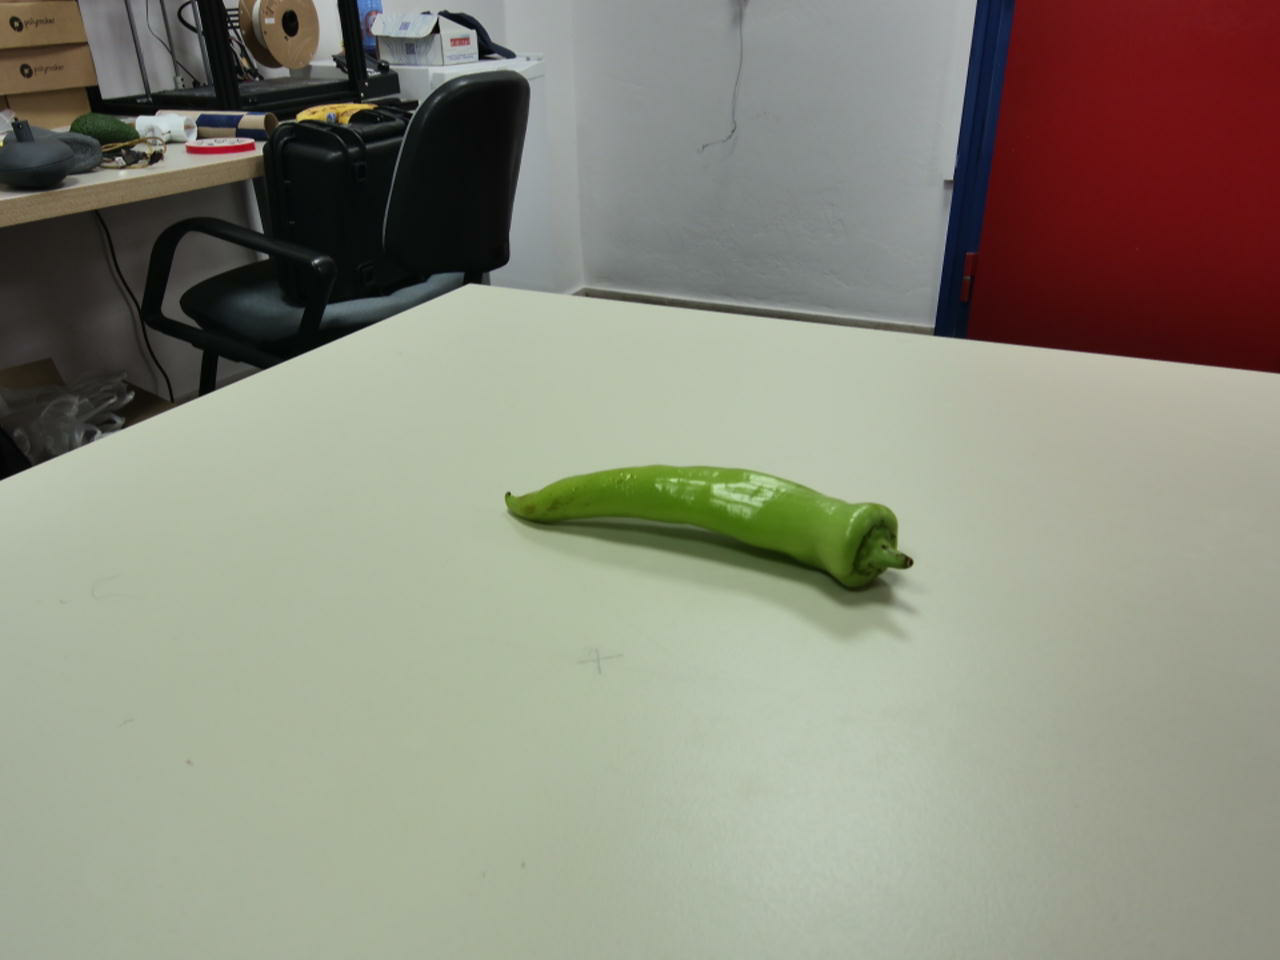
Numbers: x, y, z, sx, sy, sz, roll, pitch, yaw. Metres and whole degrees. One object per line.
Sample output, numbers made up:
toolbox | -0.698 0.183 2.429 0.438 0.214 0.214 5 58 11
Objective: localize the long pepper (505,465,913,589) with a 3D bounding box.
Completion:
long pepper | 0.027 0.012 0.444 0.197 0.038 0.046 12 26 26
